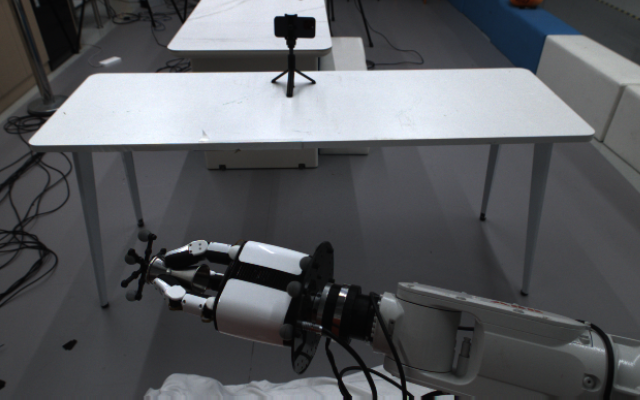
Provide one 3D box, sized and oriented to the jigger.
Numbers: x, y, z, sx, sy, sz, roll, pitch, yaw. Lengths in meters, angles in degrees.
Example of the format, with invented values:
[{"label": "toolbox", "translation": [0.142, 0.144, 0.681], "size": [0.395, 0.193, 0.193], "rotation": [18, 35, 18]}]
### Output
[{"label": "jigger", "translation": [-0.177, 0.096, 0.628], "size": [0.071, 0.043, 0.043], "rotation": [11, 36, 15]}]
